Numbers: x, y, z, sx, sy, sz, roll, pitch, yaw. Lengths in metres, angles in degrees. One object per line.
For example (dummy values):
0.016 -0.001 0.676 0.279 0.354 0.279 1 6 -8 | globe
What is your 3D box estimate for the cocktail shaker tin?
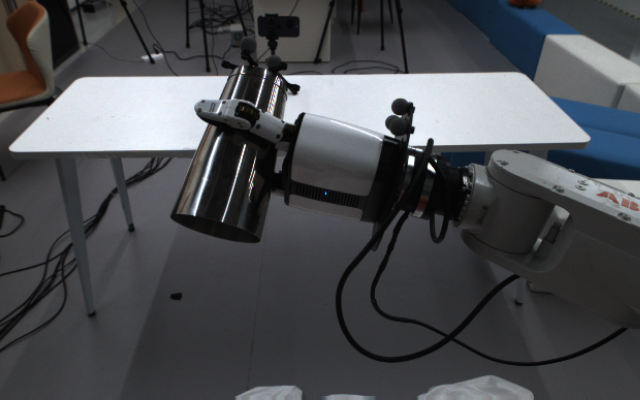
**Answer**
-0.085 -0.048 0.506 0.093 0.093 0.170 10 73 12 | cocktail shaker tin
